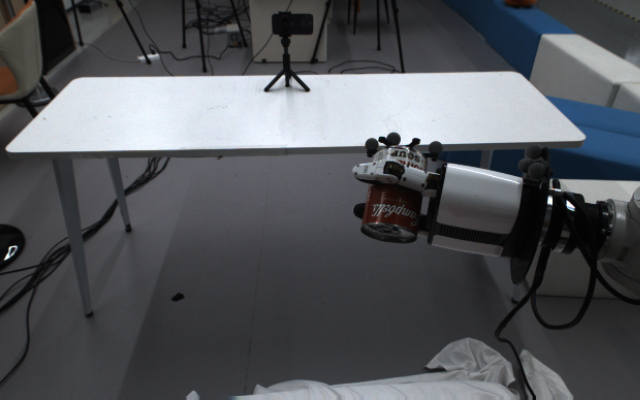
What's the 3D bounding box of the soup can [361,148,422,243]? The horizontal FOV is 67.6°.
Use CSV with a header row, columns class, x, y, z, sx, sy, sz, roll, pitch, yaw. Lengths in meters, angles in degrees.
class,x,y,z,sx,sy,sz,roll,pitch,yaw
soup can,0.092,-0.006,0.582,0.067,0.067,0.101,9,70,10
